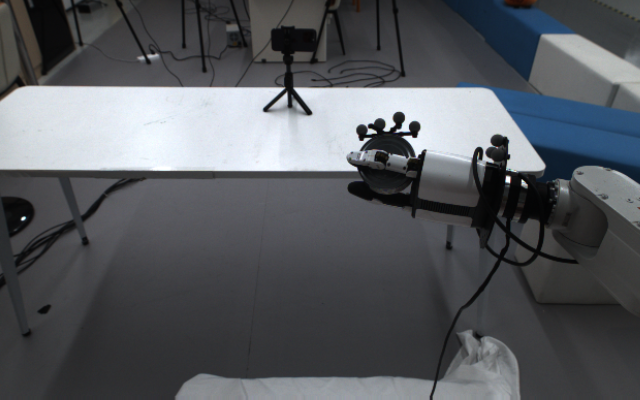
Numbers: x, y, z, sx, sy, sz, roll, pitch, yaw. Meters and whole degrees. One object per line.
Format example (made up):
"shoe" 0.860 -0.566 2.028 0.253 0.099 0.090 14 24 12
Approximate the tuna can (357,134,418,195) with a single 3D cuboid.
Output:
"tuna can" 0.100 -0.052 0.718 0.085 0.034 0.085 -5 73 14
